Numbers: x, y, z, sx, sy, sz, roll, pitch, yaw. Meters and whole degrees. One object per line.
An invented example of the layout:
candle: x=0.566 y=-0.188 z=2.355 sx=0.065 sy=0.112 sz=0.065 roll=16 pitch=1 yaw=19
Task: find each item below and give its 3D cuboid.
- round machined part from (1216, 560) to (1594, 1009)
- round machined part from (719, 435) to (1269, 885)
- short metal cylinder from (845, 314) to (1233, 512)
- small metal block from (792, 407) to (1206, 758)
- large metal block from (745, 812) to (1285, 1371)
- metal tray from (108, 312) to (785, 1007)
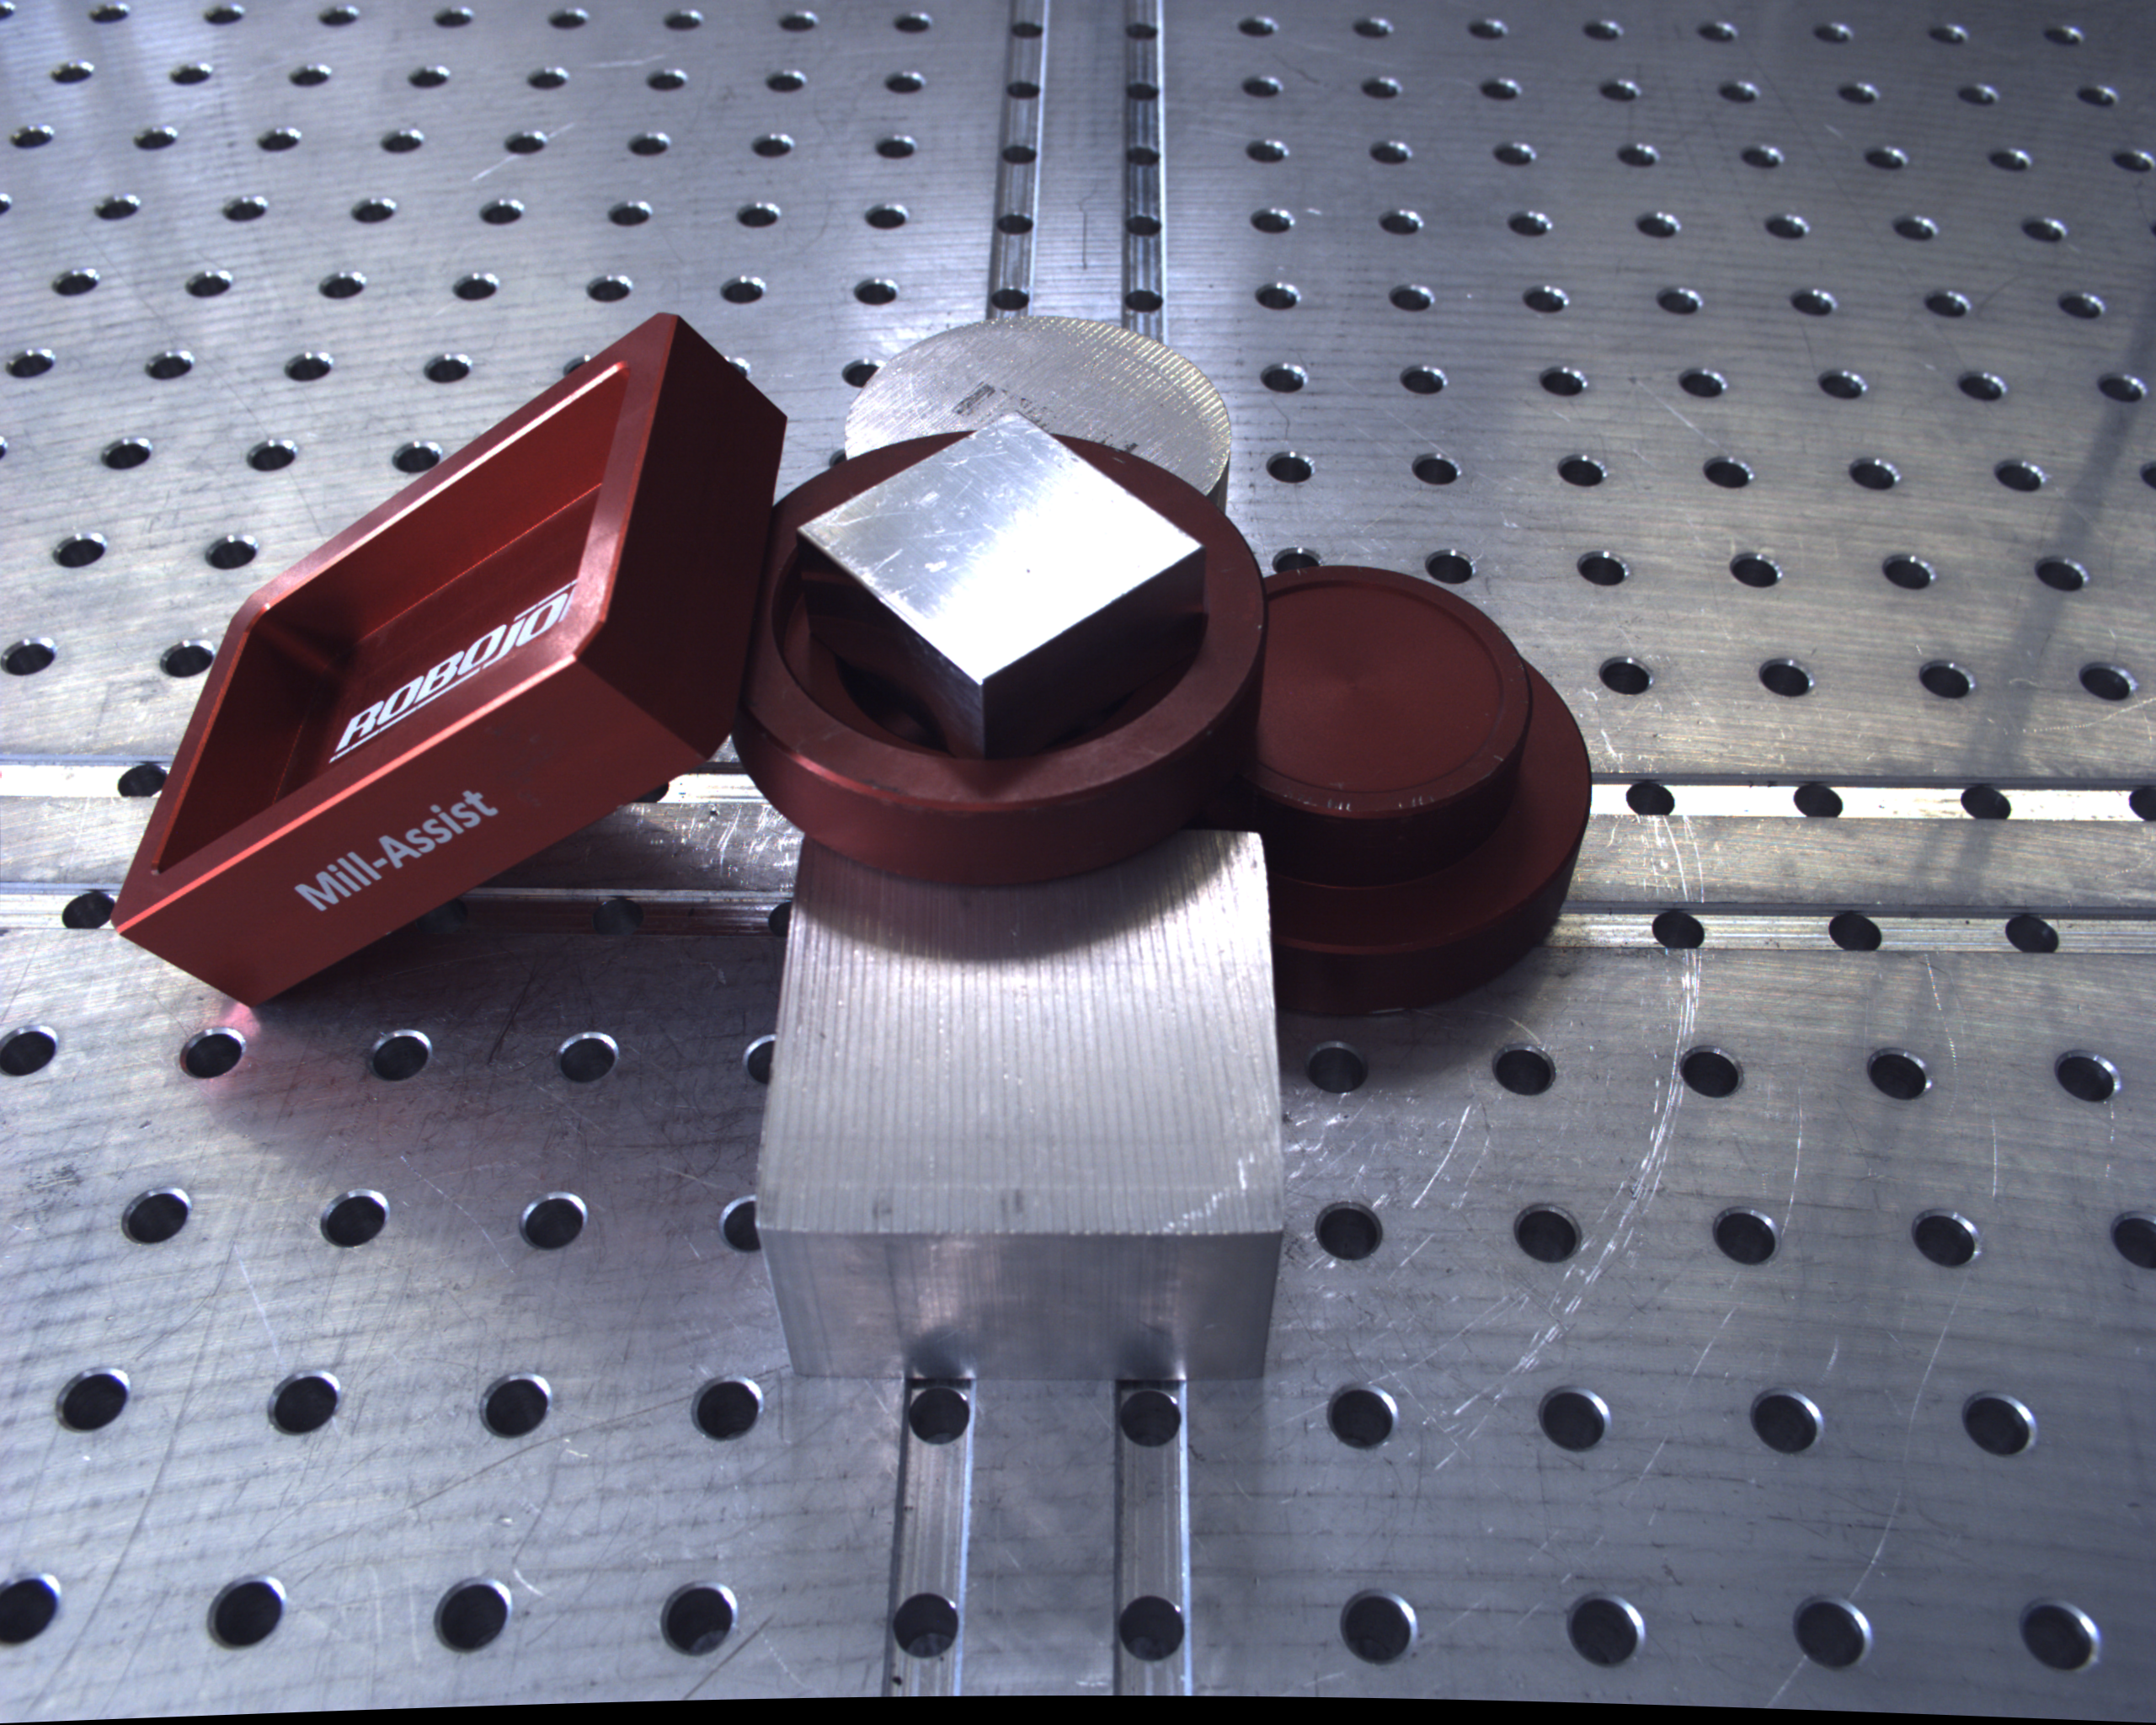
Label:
round machined part: x=0.053 y=-0.022 z=0.414 sx=0.099 sy=0.042 sz=0.098 roll=0 pitch=50 yaw=0
round machined part: x=-0.015 y=-0.033 z=0.386 sx=0.099 sy=0.042 sz=0.098 roll=0 pitch=50 yaw=0
short metal cylinder: x=-0.008 y=-0.074 z=0.453 sx=0.080 sy=0.050 sz=0.080 roll=0 pitch=50 yaw=0
small metal block: x=-0.014 y=-0.048 z=0.368 sx=0.050 sy=0.025 sz=0.050 roll=-34 pitch=58 yaw=-25
large metal block: x=-0.009 y=0.038 z=0.355 sx=0.080 sy=0.050 sz=0.080 roll=1 pitch=50 yaw=0
metal tray: x=-0.117 y=-0.036 z=0.387 sx=0.130 sy=0.030 sz=0.090 roll=-25 pitch=43 yaw=28
